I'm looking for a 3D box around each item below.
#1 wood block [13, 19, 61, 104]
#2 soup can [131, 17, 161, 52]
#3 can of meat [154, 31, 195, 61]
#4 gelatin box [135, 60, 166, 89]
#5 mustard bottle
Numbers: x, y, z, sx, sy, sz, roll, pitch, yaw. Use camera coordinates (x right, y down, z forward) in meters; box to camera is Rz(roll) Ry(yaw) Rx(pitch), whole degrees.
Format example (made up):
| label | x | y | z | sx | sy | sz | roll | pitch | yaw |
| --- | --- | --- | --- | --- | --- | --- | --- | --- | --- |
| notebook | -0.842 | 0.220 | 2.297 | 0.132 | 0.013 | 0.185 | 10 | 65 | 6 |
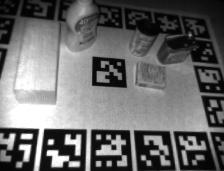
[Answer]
| label | x | y | z | sx | sy | sz | roll | pitch | yaw |
| --- | --- | --- | --- | --- | --- | --- | --- | --- | --- |
| wood block | -0.186 | -0.064 | 0.561 | 0.091 | 0.090 | 0.205 | 4 | 59 | -12 |
| soup can | 0.100 | -0.158 | 0.656 | 0.068 | 0.102 | 0.067 | 5 | 64 | -9 |
| can of meat | 0.193 | -0.125 | 0.683 | 0.103 | 0.083 | 0.057 | -10 | 67 | -19 |
| gelatin box | 0.117 | -0.034 | 0.645 | 0.089 | 0.030 | 0.073 | 11 | 64 | -4 |
| mustard bottle | -0.086 | -0.175 | 0.587 | 0.097 | 0.191 | 0.058 | -22 | 69 | -22 |
